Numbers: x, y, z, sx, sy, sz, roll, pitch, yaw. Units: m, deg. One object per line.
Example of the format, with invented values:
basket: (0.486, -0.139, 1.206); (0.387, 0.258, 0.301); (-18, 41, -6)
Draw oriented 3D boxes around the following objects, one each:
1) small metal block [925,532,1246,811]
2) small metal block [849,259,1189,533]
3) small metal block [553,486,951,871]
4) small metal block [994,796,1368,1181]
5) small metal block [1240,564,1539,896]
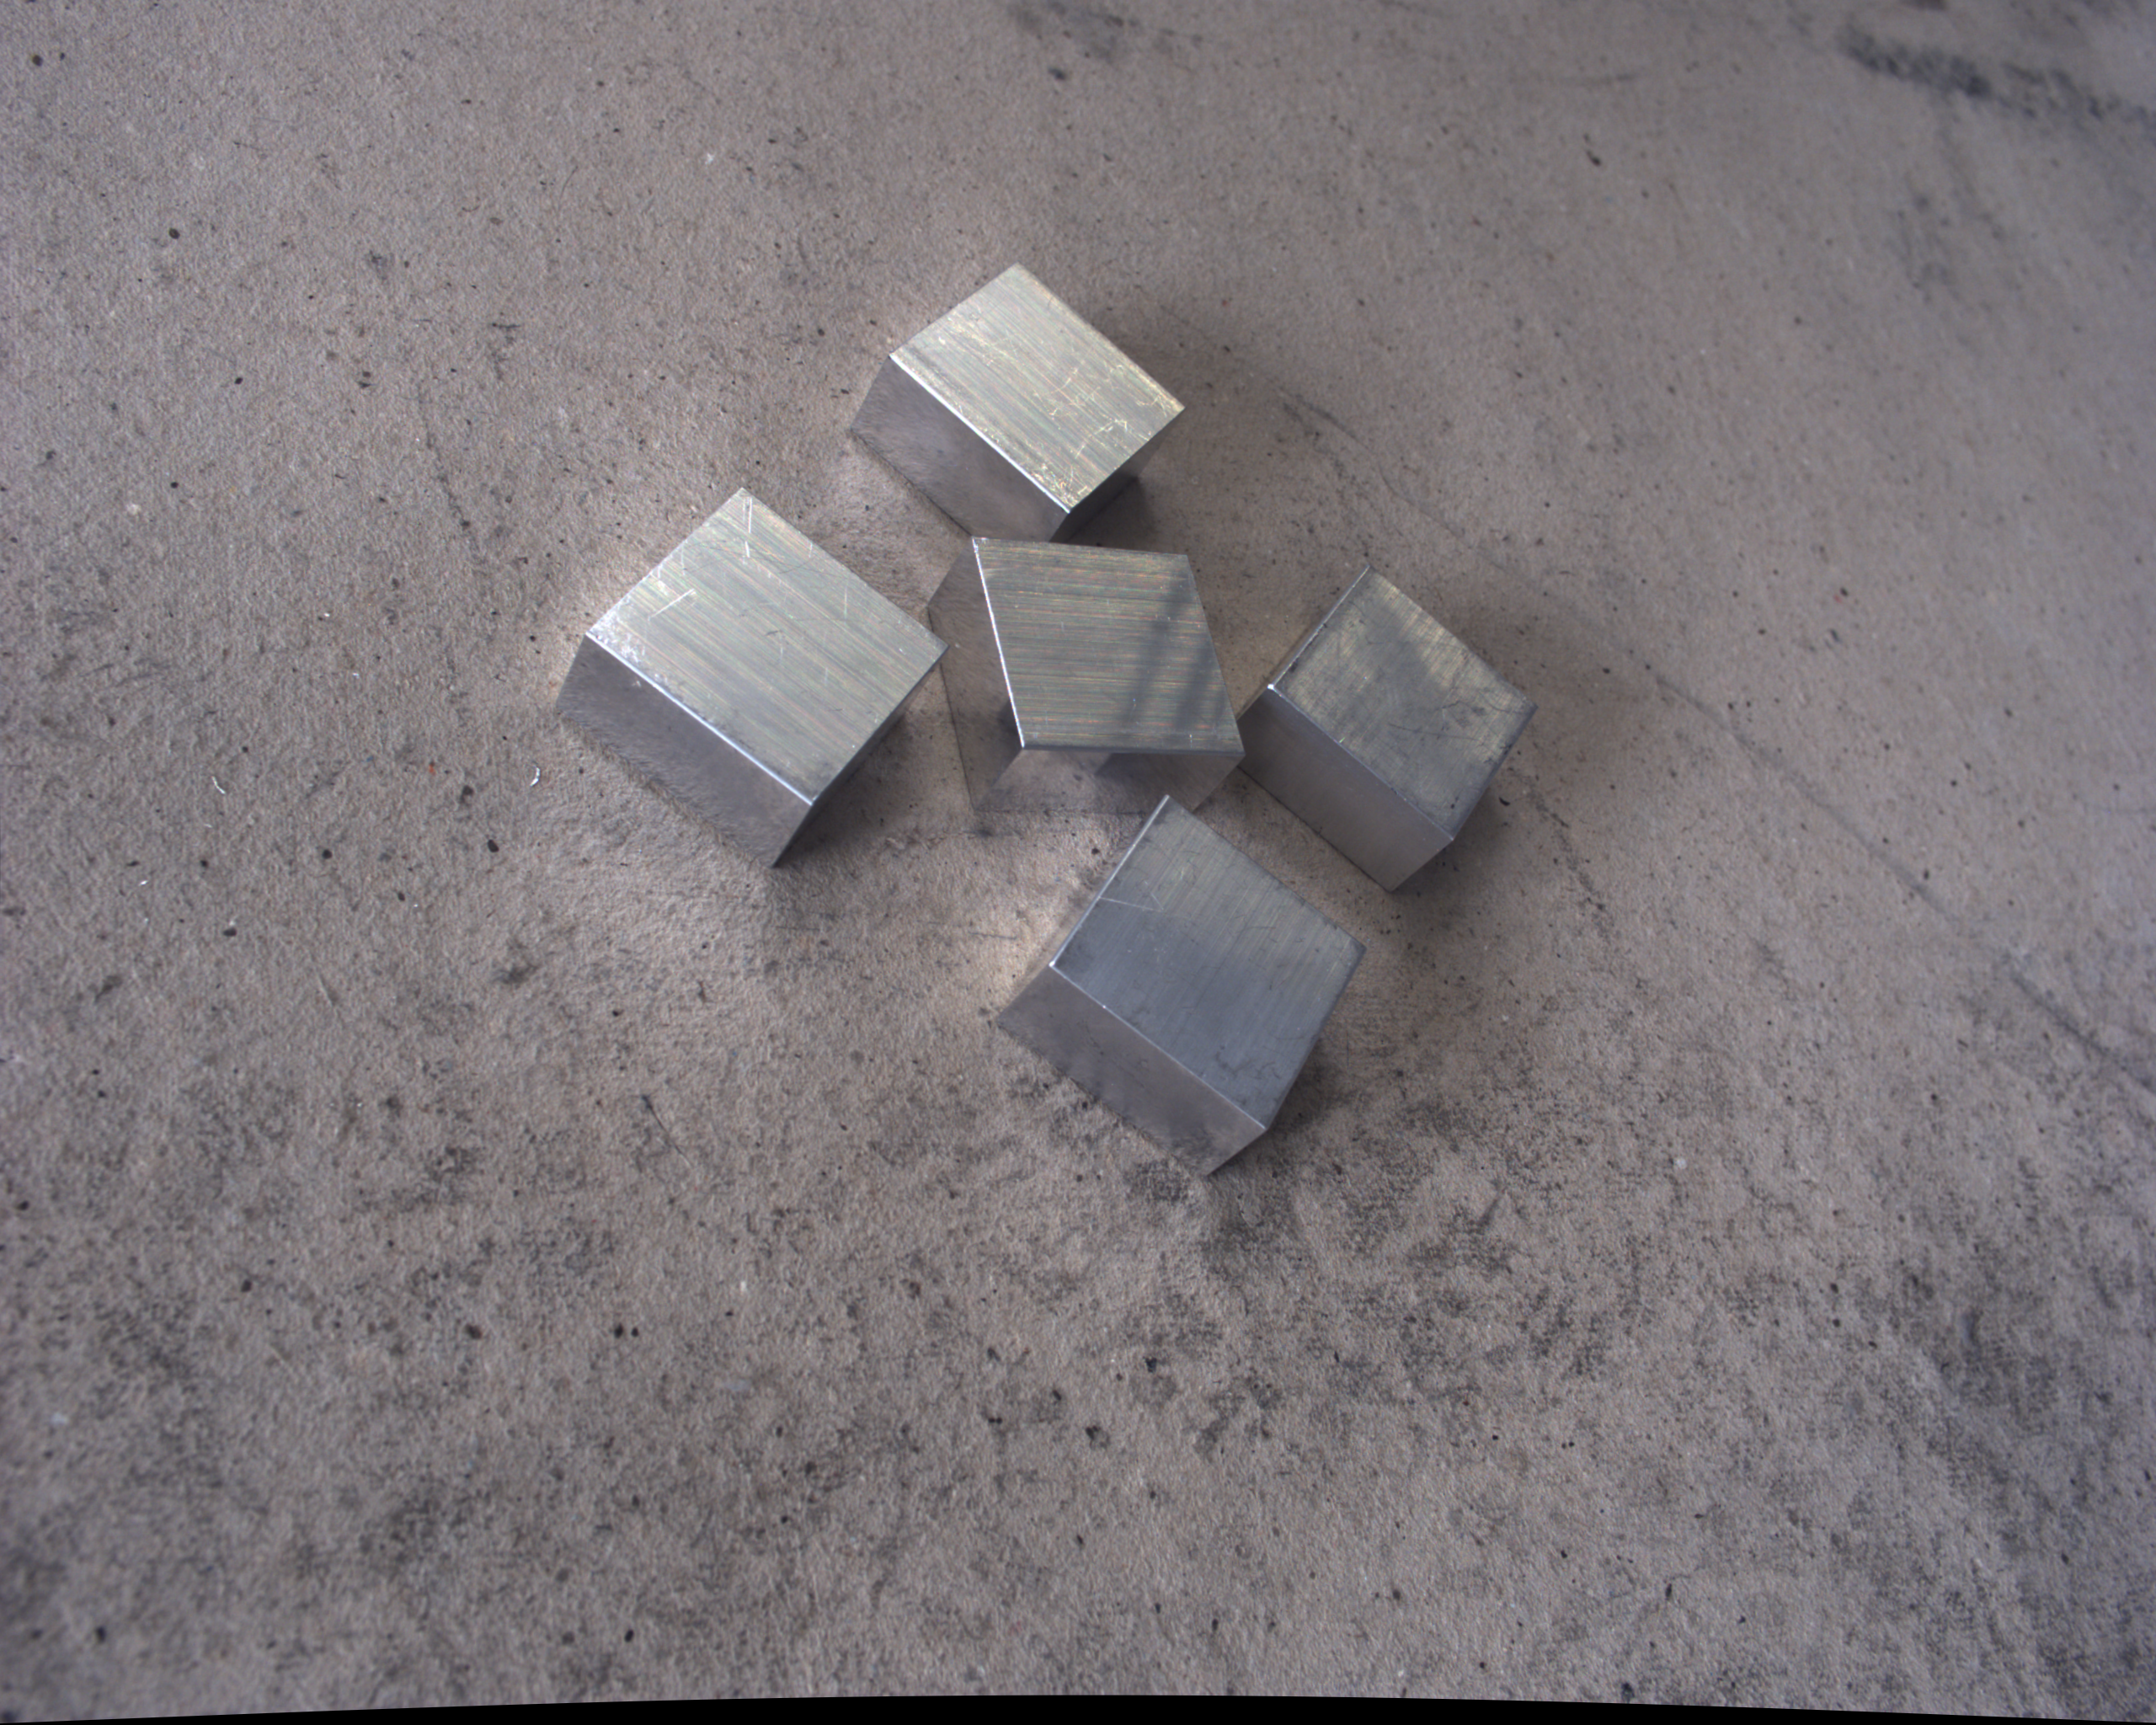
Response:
small metal block: (0.001, -0.038, 0.428); (0.050, 0.025, 0.050); (0, 62, -28)
small metal block: (-0.012, -0.098, 0.457); (0.050, 0.025, 0.050); (41, 50, 1)
small metal block: (-0.061, -0.035, 0.394); (0.050, 0.025, 0.050); (37, 50, -3)
small metal block: (0.021, 0.024, 0.402); (0.050, 0.025, 0.050); (38, 50, -3)
small metal block: (0.066, -0.030, 0.459); (0.050, 0.025, 0.050); (40, 51, -1)
